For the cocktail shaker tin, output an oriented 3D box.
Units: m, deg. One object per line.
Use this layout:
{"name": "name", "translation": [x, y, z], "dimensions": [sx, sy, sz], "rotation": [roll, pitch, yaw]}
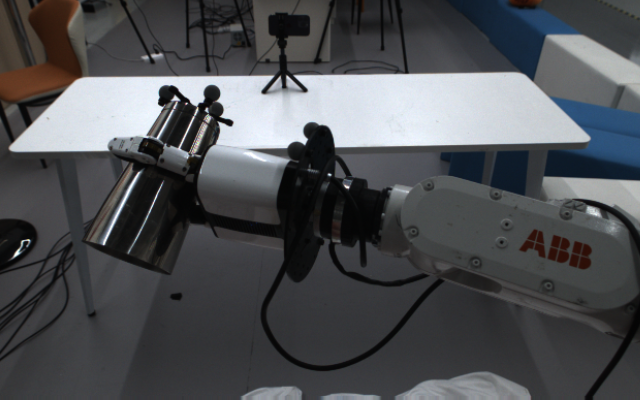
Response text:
{"name": "cocktail shaker tin", "translation": [-0.168, -0.016, 0.515], "dimensions": [0.093, 0.093, 0.170], "rotation": [13, 70, 15]}
